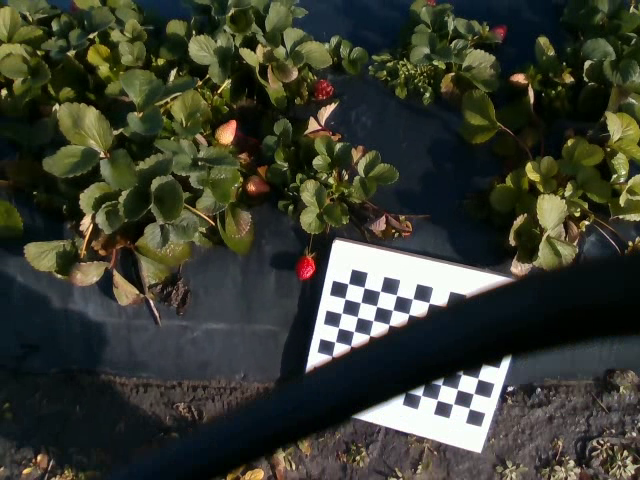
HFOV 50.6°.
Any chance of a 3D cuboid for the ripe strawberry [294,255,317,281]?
[{"bbox_3d":[-0.021,0.040,0.866,0.034,0.038,0.033,12,-37,6],"label":"ripe strawberry"}]
